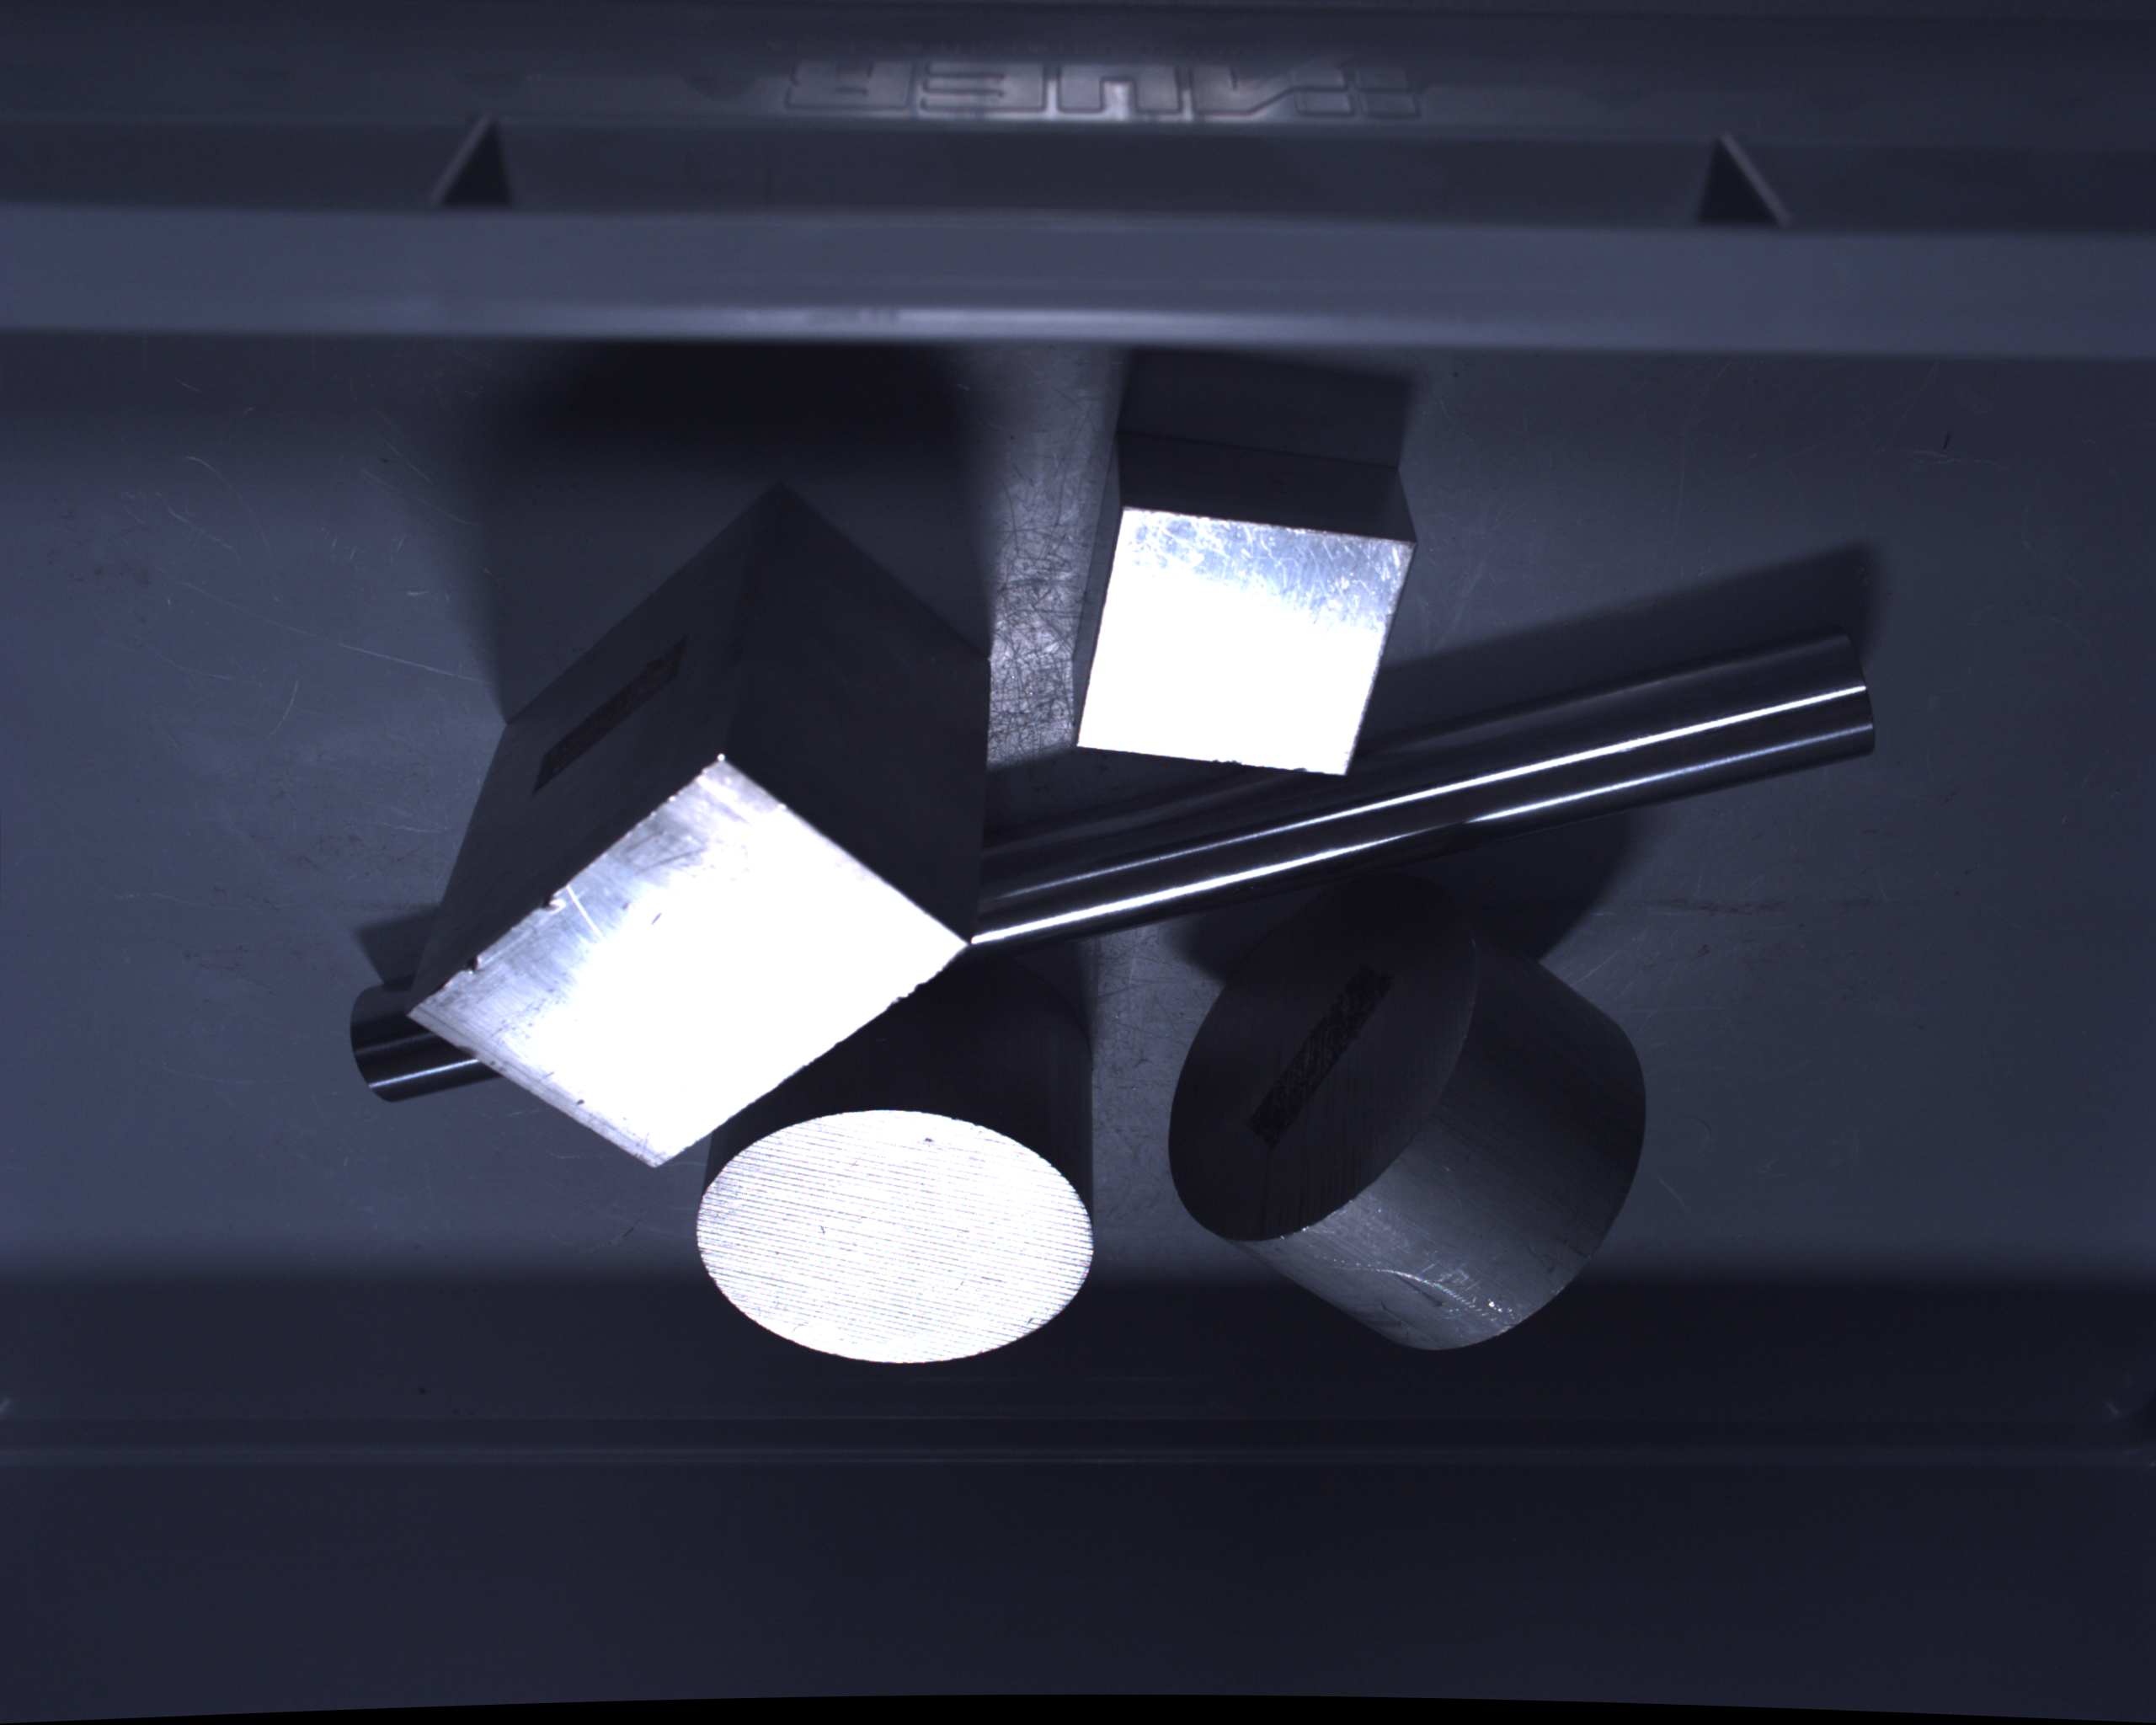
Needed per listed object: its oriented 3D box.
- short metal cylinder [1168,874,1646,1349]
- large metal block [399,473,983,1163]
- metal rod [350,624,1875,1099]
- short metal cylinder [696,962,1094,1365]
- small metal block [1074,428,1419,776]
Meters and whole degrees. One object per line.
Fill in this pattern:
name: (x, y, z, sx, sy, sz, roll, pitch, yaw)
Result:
short metal cylinder: (0.064, 0.049, 0.414, 0.050, 0.080, 0.080, 35, 122, -26)
large metal block: (-0.064, -0.008, 0.364, 0.080, 0.080, 0.050, -36, 122, 26)
metal rod: (-0.001, 0.003, 0.410, 0.301, 0.025, 0.025, -13, 129, 10)
short metal cylinder: (-0.037, 0.062, 0.442, 0.081, 0.050, 0.079, 0, 130, 0)
small metal block: (0.028, -0.045, 0.369, 0.050, 0.025, 0.050, 7, 130, -6)
